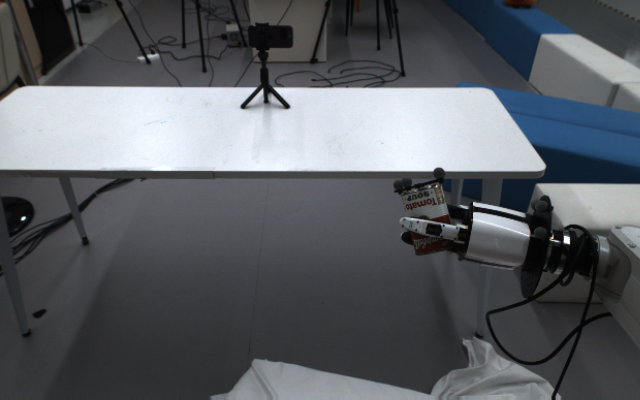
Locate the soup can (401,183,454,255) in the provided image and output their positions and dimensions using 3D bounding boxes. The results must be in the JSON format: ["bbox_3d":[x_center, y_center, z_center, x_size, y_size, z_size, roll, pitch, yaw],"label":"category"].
[{"bbox_3d":[0.173,0.030,0.769,0.067,0.101,0.067,-14,-2,-1],"label":"soup can"}]
